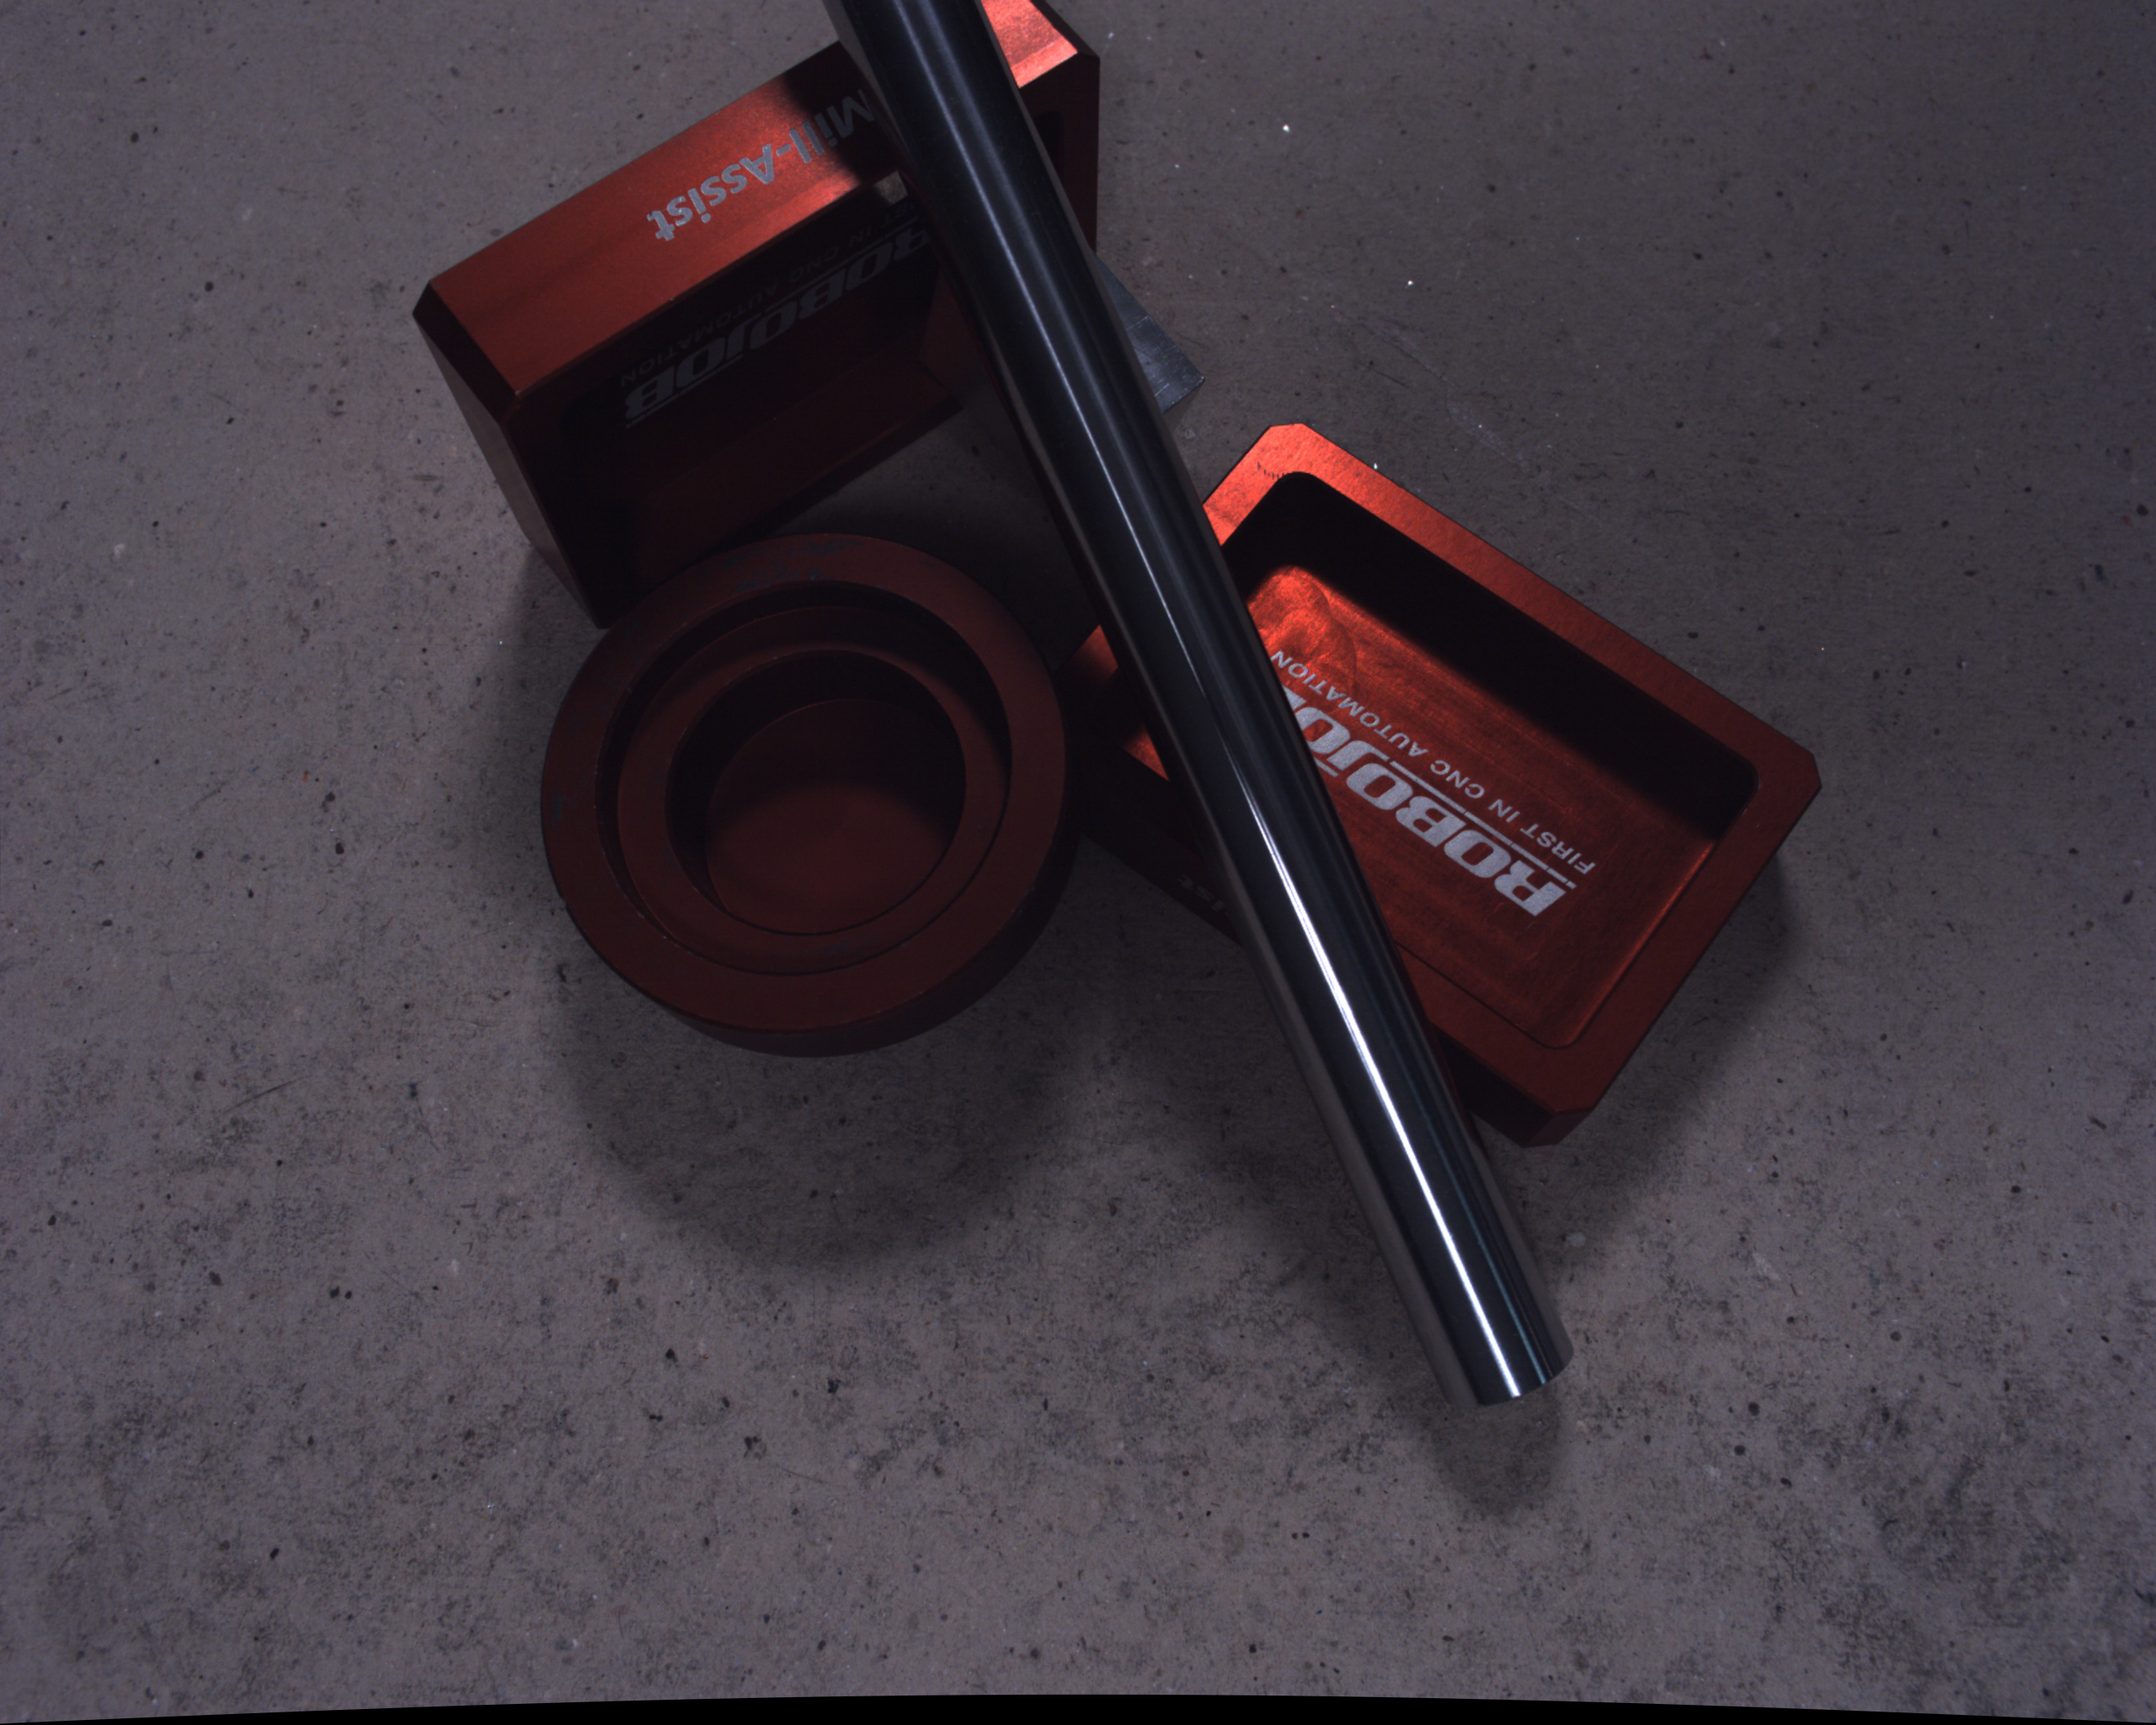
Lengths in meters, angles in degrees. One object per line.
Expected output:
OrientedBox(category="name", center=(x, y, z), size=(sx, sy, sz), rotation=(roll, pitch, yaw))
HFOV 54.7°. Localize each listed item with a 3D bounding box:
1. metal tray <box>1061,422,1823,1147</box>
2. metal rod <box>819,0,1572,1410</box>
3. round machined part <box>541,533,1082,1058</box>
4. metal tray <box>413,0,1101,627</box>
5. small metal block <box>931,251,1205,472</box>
OrientedBox(category="metal tray", center=(0.066, -0.017, 0.414), size=(0.130, 0.030, 0.090), rotation=(36, 74, 12))
OrientedBox(category="metal rod", center=(0.017, -0.043, 0.369), size=(0.025, 0.025, 0.299), rotation=(-25, 94, -9))
OrientedBox(category="round machined part", center=(-0.048, -0.010, 0.400), size=(0.099, 0.042, 0.098), rotation=(-2, 73, 5))
OrientedBox(category="metal tray", center=(-0.056, -0.110, 0.414), size=(0.131, 0.090, 0.030), rotation=(-36, 74, -12))
OrientedBox(category="small metal block", center=(-0.005, -0.101, 0.428), size=(0.025, 0.050, 0.050), rotation=(-42, 90, -11))
